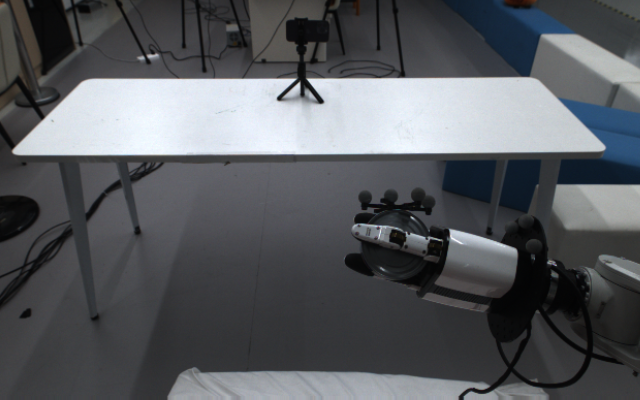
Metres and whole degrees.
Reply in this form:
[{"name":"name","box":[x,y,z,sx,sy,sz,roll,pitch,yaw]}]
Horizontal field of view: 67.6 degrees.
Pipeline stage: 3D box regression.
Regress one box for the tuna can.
[{"name":"tuna can","box":[0.094,0.054,0.597,0.085,0.034,0.085,0,75,0]}]
